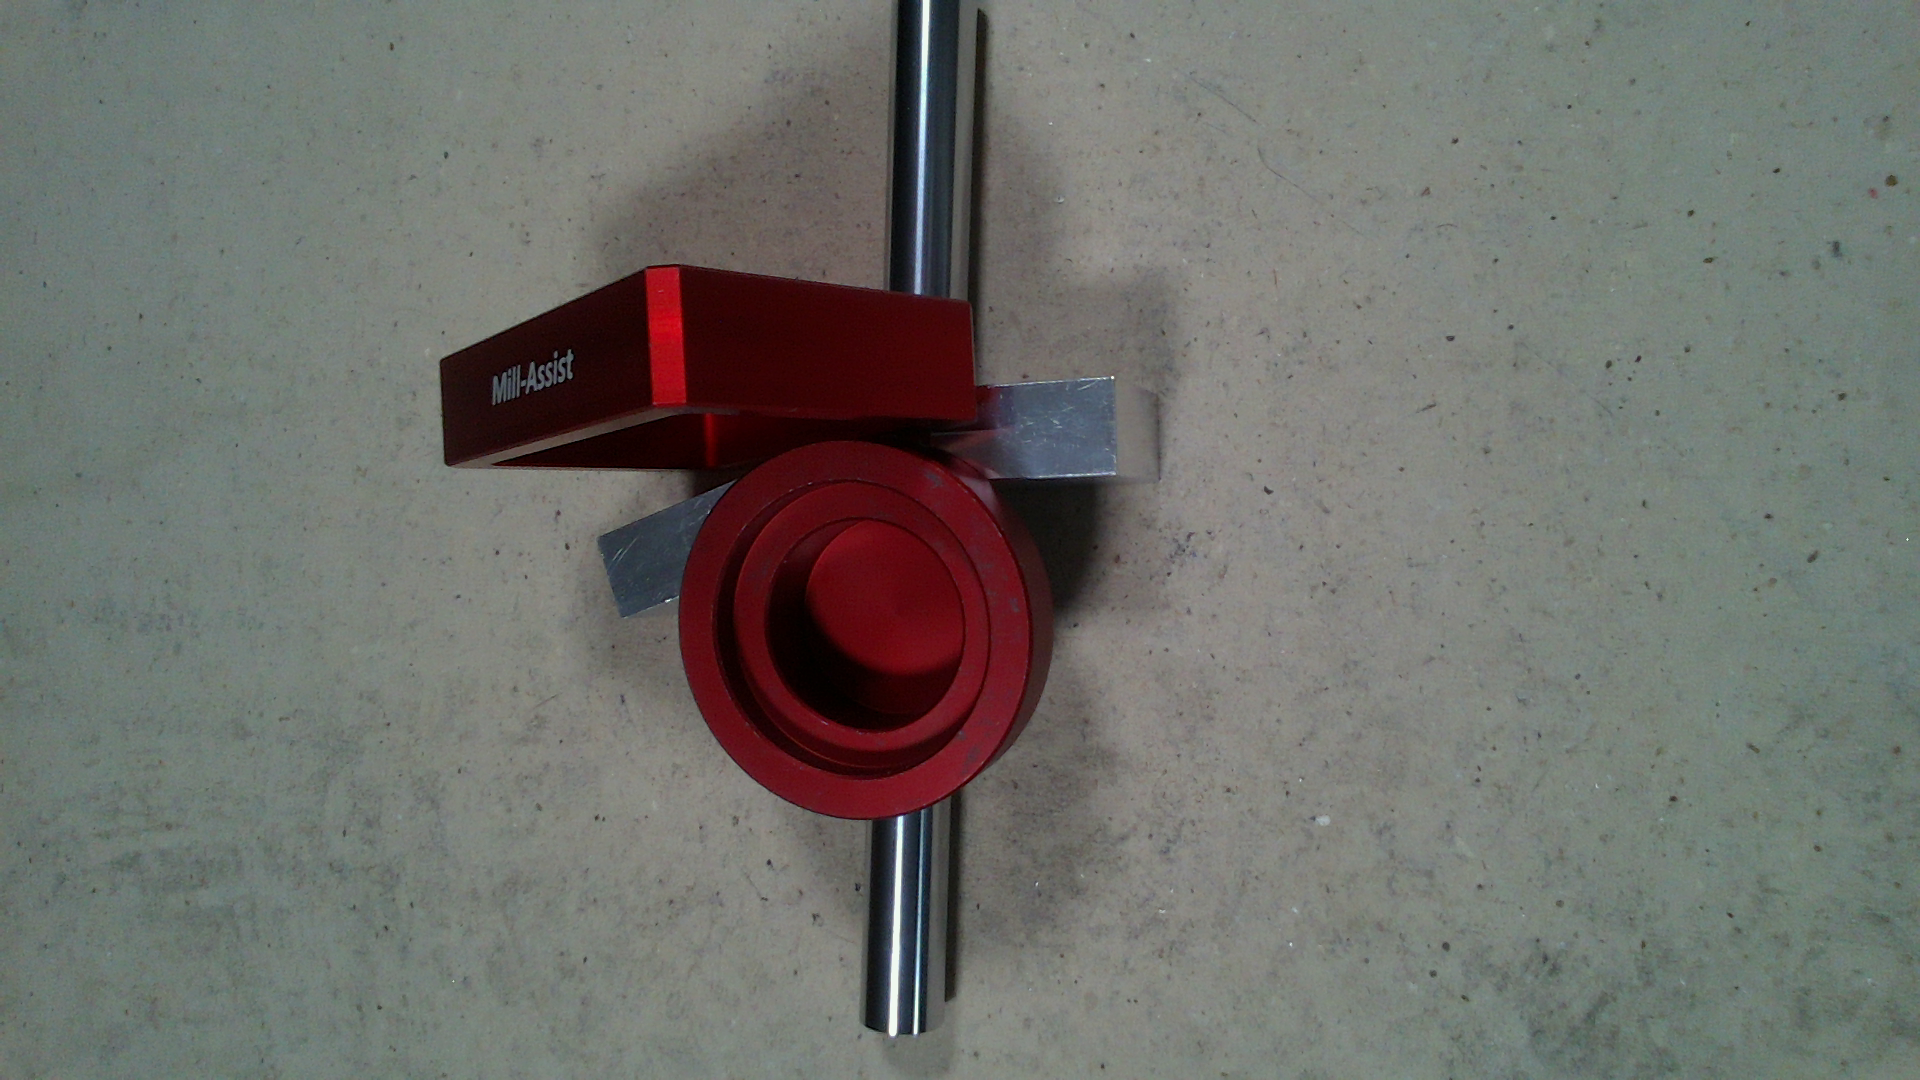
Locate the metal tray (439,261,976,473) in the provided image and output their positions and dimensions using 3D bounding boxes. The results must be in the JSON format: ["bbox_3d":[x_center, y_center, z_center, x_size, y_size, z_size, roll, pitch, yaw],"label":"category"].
[{"bbox_3d":[-0.070,-0.040,0.362,0.129,0.090,0.030,-6,86,49],"label":"metal tray"}]

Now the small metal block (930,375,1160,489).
[{"bbox_3d":[0.024,-0.028,0.374,0.050,0.050,0.025,-2,90,20],"label":"small metal block"}]

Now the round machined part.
[{"bbox_3d":[-0.022,0.021,0.366,0.098,0.042,0.098,1,94,18],"label":"round machined part"}]

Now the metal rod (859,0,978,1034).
[{"bbox_3d":[-0.012,-0.010,0.400,0.025,0.025,0.300,2,91,20],"label":"metal rod"}]

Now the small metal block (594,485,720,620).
[{"bbox_3d":[-0.070,0.003,0.408,0.050,0.050,0.025,-21,83,19],"label":"small metal block"}]
